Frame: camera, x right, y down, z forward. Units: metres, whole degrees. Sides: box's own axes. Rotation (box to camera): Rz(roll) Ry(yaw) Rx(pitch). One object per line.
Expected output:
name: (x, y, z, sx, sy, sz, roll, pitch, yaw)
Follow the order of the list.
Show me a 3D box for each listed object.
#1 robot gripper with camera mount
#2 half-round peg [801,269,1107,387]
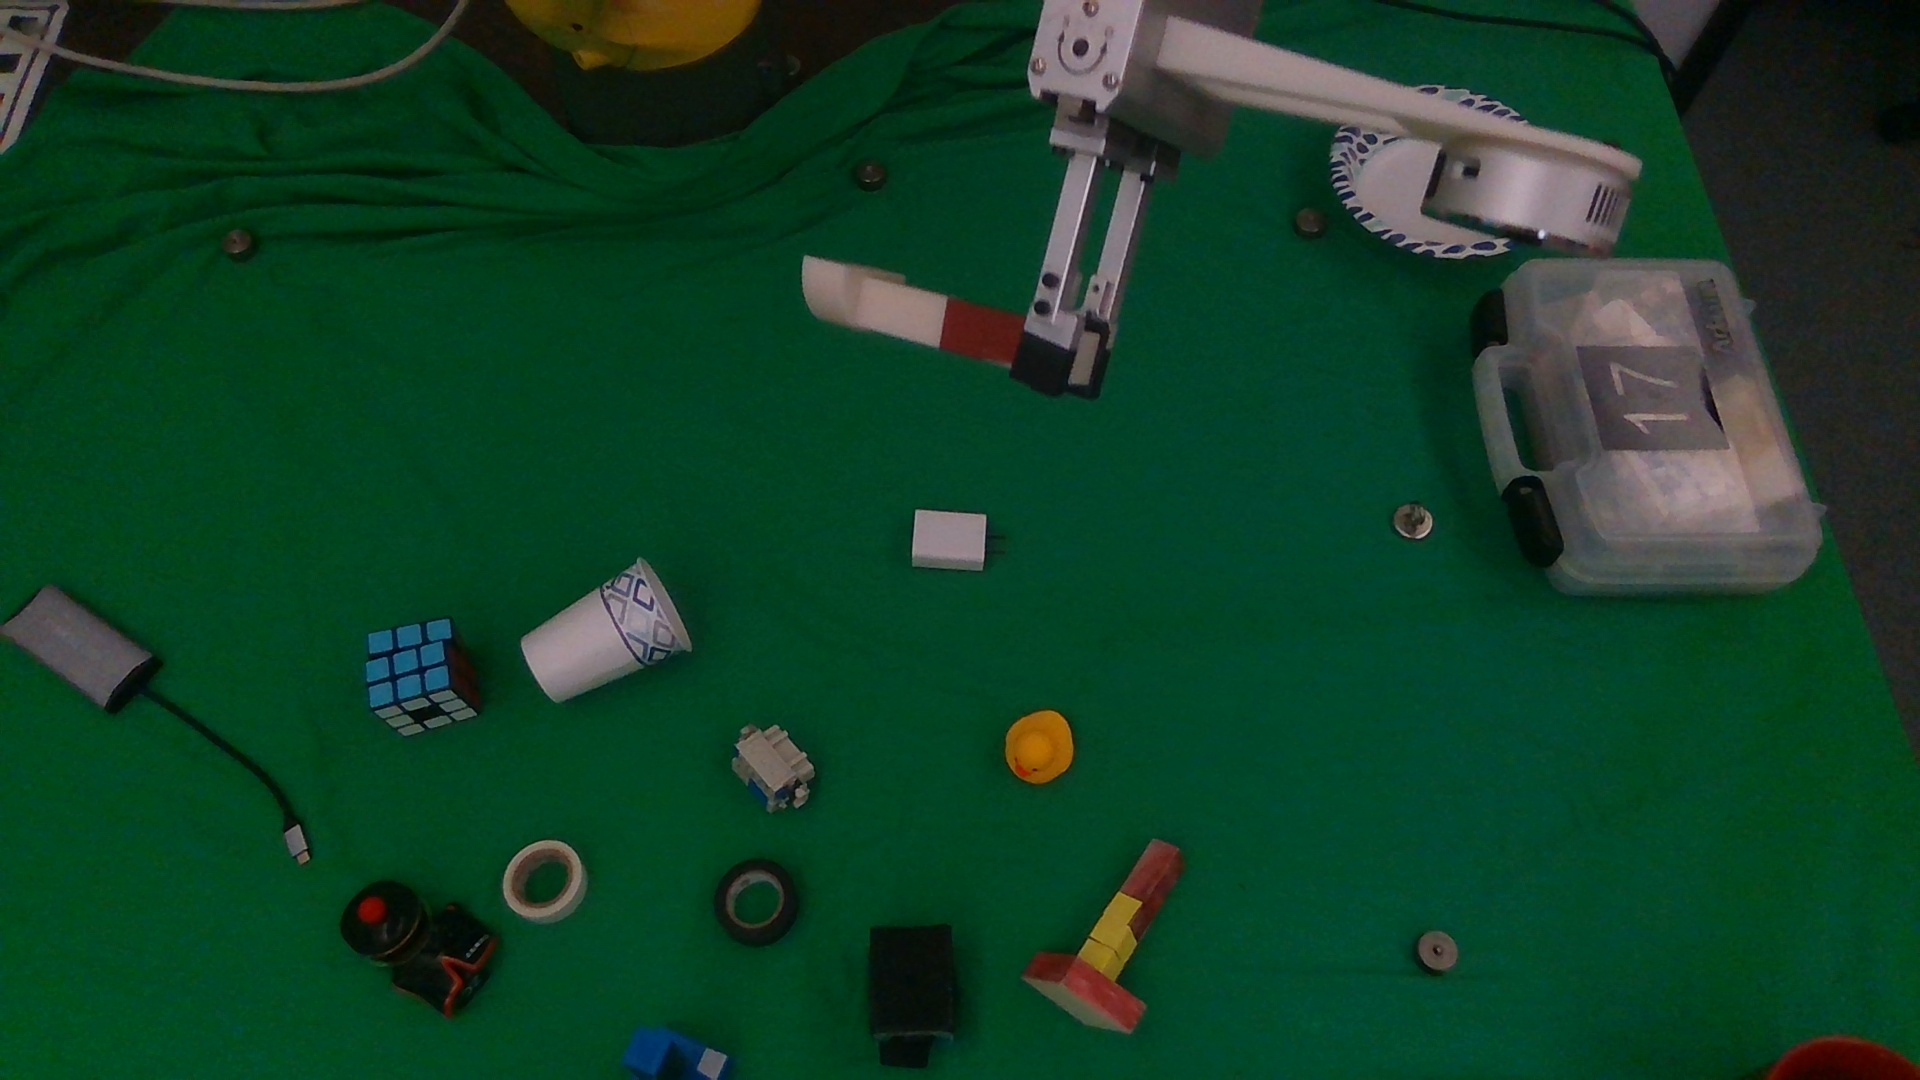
robot gripper with camera mount: (0.122, -0.109, 0.492, 0.194, 0.118, 0.158, 18, 104, 25)
half-round peg: (-0.001, -0.085, 0.558, 0.122, 0.054, 0.031, 16, 106, 25)
